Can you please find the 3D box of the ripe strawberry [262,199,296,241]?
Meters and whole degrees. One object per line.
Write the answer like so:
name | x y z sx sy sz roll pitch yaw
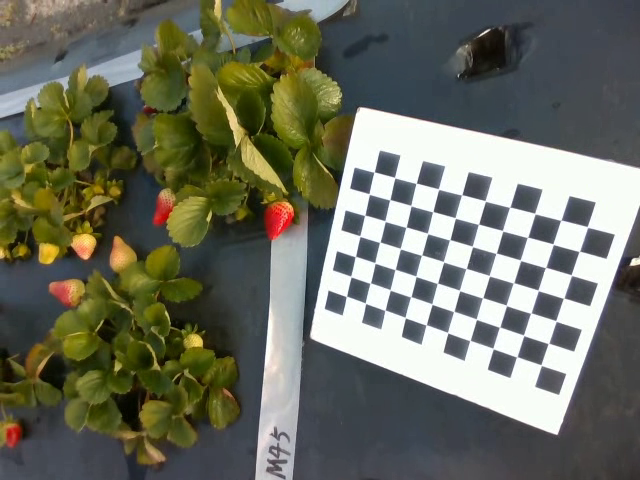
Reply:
ripe strawberry | -0.047 -0.020 0.651 0.050 0.055 0.035 10 -6 17
